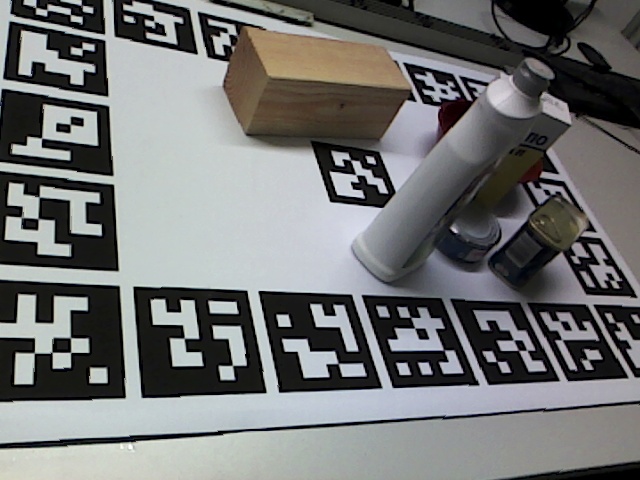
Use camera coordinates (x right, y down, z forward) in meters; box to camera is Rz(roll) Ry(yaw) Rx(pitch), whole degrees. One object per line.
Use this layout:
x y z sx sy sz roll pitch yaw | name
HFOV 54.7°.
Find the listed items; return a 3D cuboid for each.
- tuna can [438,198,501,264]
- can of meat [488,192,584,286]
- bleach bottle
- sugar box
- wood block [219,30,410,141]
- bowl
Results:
0.171 -0.014 0.739 0.085 0.034 0.086 15 49 -18 | tuna can
0.260 0.000 0.751 0.058 0.084 0.101 44 43 17 | can of meat
0.129 -0.066 0.609 0.102 0.251 0.068 -23 64 -41 | bleach bottle
0.204 -0.105 0.737 0.092 0.176 0.045 18 47 -10 | sugar box
-0.005 -0.186 0.764 0.205 0.090 0.091 -4 58 -34 | wood block
0.229 -0.126 0.863 0.161 0.055 0.162 13 47 -14 | bowl
